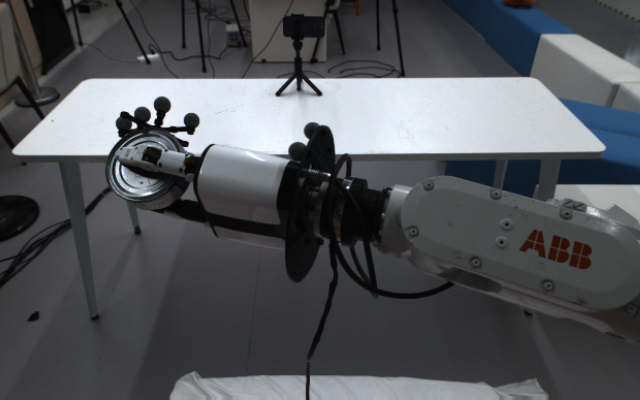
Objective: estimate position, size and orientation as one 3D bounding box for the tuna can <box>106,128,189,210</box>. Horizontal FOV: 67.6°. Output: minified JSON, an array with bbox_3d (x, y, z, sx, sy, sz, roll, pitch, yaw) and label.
[{"bbox_3d":[-0.181,-0.032,0.527,0.085,0.034,0.085,-2,69,6],"label":"tuna can"}]
